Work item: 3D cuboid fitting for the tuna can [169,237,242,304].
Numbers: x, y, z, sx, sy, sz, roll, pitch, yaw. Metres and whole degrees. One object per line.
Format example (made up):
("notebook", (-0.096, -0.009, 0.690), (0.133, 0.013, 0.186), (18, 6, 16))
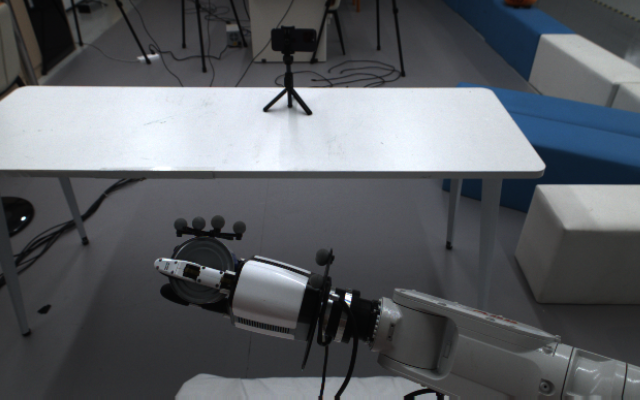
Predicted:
("tuna can", (-0.149, 0.092, 0.629), (0.085, 0.034, 0.085), (-1, 76, 4))
